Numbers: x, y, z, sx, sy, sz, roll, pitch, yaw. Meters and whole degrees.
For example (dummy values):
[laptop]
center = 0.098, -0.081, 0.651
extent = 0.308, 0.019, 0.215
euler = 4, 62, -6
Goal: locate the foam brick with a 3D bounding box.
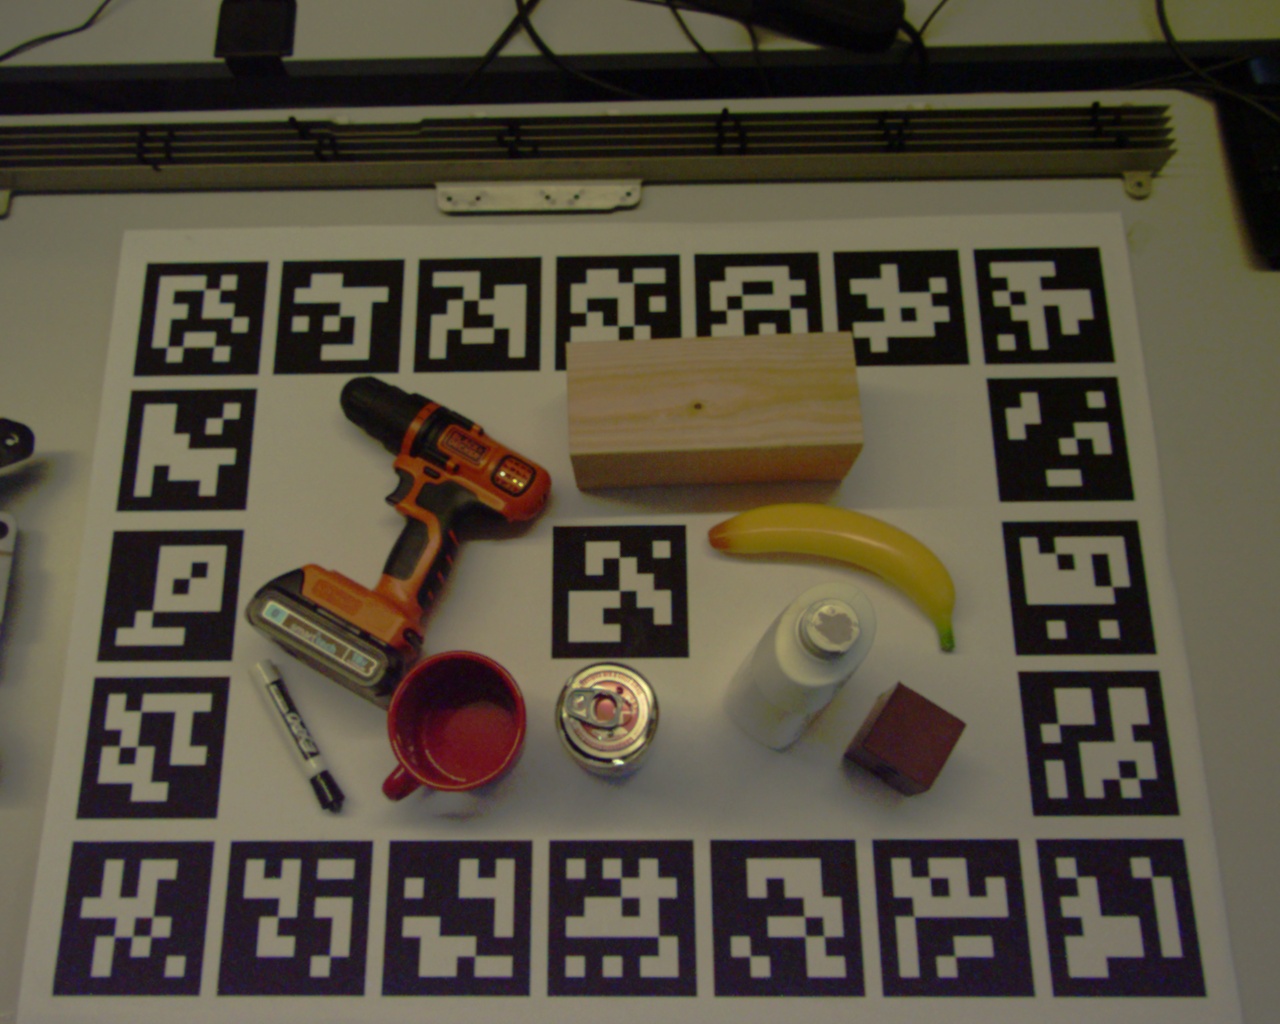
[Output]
[foam brick]
center = 0.171, 0.160, 0.812
extent = 0.053, 0.078, 0.051
euler = 33, 74, 12

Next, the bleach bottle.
[bleach bottle]
center = 0.092, 0.090, 0.744
extent = 0.068, 0.250, 0.102
euler = 28, 74, 9

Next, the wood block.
[wood block]
center = 0.046, -0.070, 0.879
extent = 0.206, 0.091, 0.090
euler = -1, 74, 1

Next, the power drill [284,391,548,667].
[power drill]
center = -0.189, 0.014, 0.880
extent = 0.185, 0.057, 0.186
euler = 28, 74, 6

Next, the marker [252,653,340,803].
[marker]
center = -0.257, 0.162, 0.853
extent = 0.019, 0.019, 0.122
euler = -30, 75, -6

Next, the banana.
[banana]
center = 0.127, 0.021, 0.872
extent = 0.198, 0.039, 0.074
euler = 15, 88, 4

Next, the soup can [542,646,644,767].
[soup can]
center = -0.033, 0.140, 0.802
extent = 0.068, 0.102, 0.068
euler = 0, 69, -1

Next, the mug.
[mug]
center = -0.141, 0.149, 0.818
extent = 0.094, 0.081, 0.117
euler = 42, 81, 10
